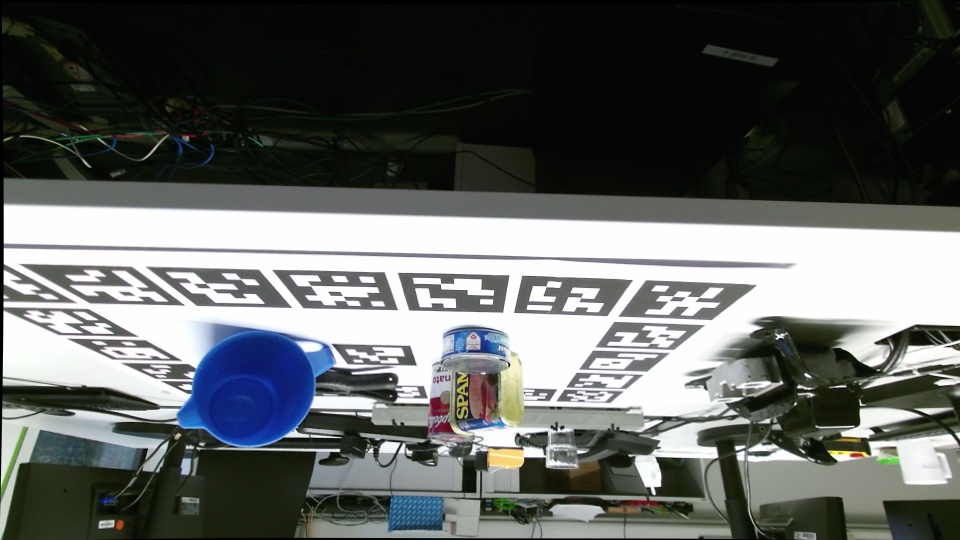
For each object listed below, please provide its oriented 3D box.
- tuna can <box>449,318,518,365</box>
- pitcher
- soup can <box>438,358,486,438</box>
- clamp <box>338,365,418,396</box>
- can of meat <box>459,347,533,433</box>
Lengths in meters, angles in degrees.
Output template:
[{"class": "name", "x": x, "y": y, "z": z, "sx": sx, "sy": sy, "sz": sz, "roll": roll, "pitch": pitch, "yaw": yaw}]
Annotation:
[{"class": "tuna can", "x": 0.005, "y": 0.089, "z": 0.666, "sx": 0.086, "sy": 0.033, "sz": 0.086, "roll": 1, "pitch": 150, "yaw": 0}, {"class": "pitcher", "x": -0.296, "y": 0.173, "z": 0.724, "sx": 0.189, "sy": 0.132, "sz": 0.243, "roll": -10, "pitch": 166, "yaw": -29}, {"class": "soup can", "x": -0.027, "y": 0.187, "z": 0.783, "sx": 0.068, "sy": 0.101, "sz": 0.068, "roll": -2, "pitch": 150, "yaw": -1}, {"class": "clamp", "x": -0.185, "y": 0.174, "z": 0.852, "sx": 0.166, "sy": 0.036, "sz": 0.122, "roll": 5, "pitch": 156, "yaw": -1}, {"class": "can of meat", "x": 0.022, "y": 0.159, "z": 0.721, "sx": 0.084, "sy": 0.101, "sz": 0.058, "roll": -21, "pitch": 144, "yaw": 29}]
